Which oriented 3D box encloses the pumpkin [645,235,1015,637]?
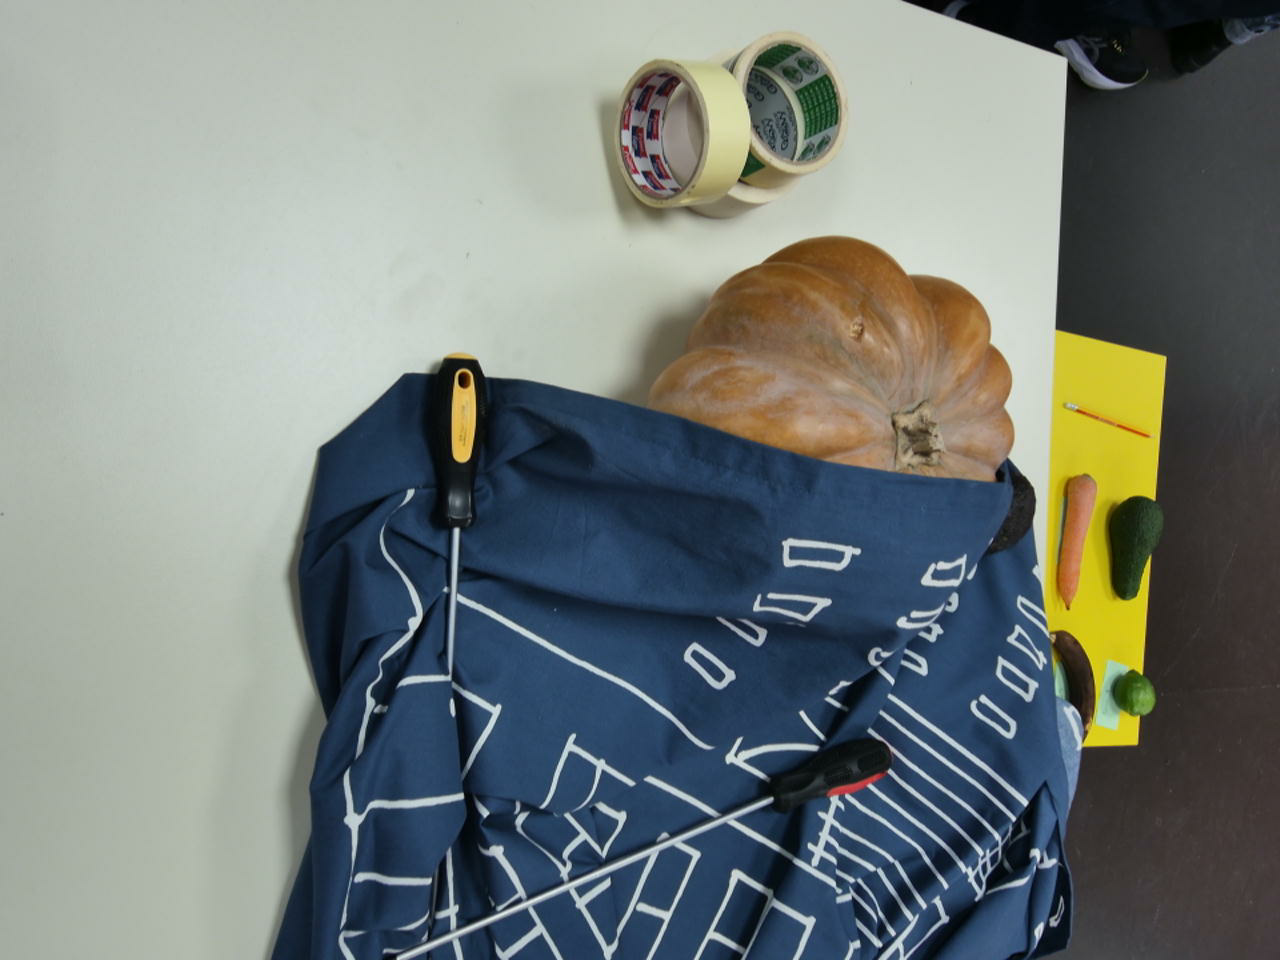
[{"bbox_3d":[0.133,-0.029,0.682,0.277,0.181,0.277,-1,91,-29],"label":"pumpkin"}]
